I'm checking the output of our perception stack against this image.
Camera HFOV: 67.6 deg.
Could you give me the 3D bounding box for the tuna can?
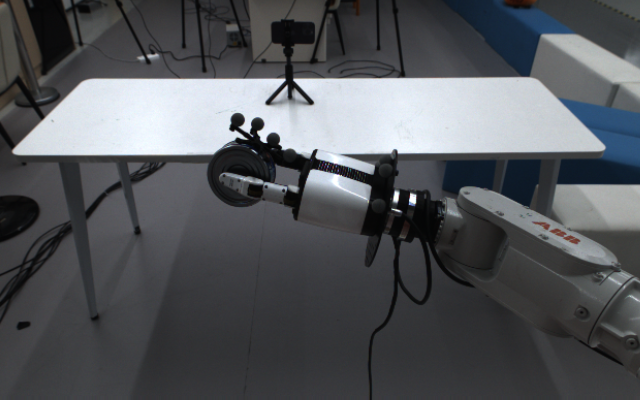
[{"bbox_3d":[-0.100,-0.029,0.634,0.085,0.085,0.034,6,19,6],"label":"tuna can"}]
